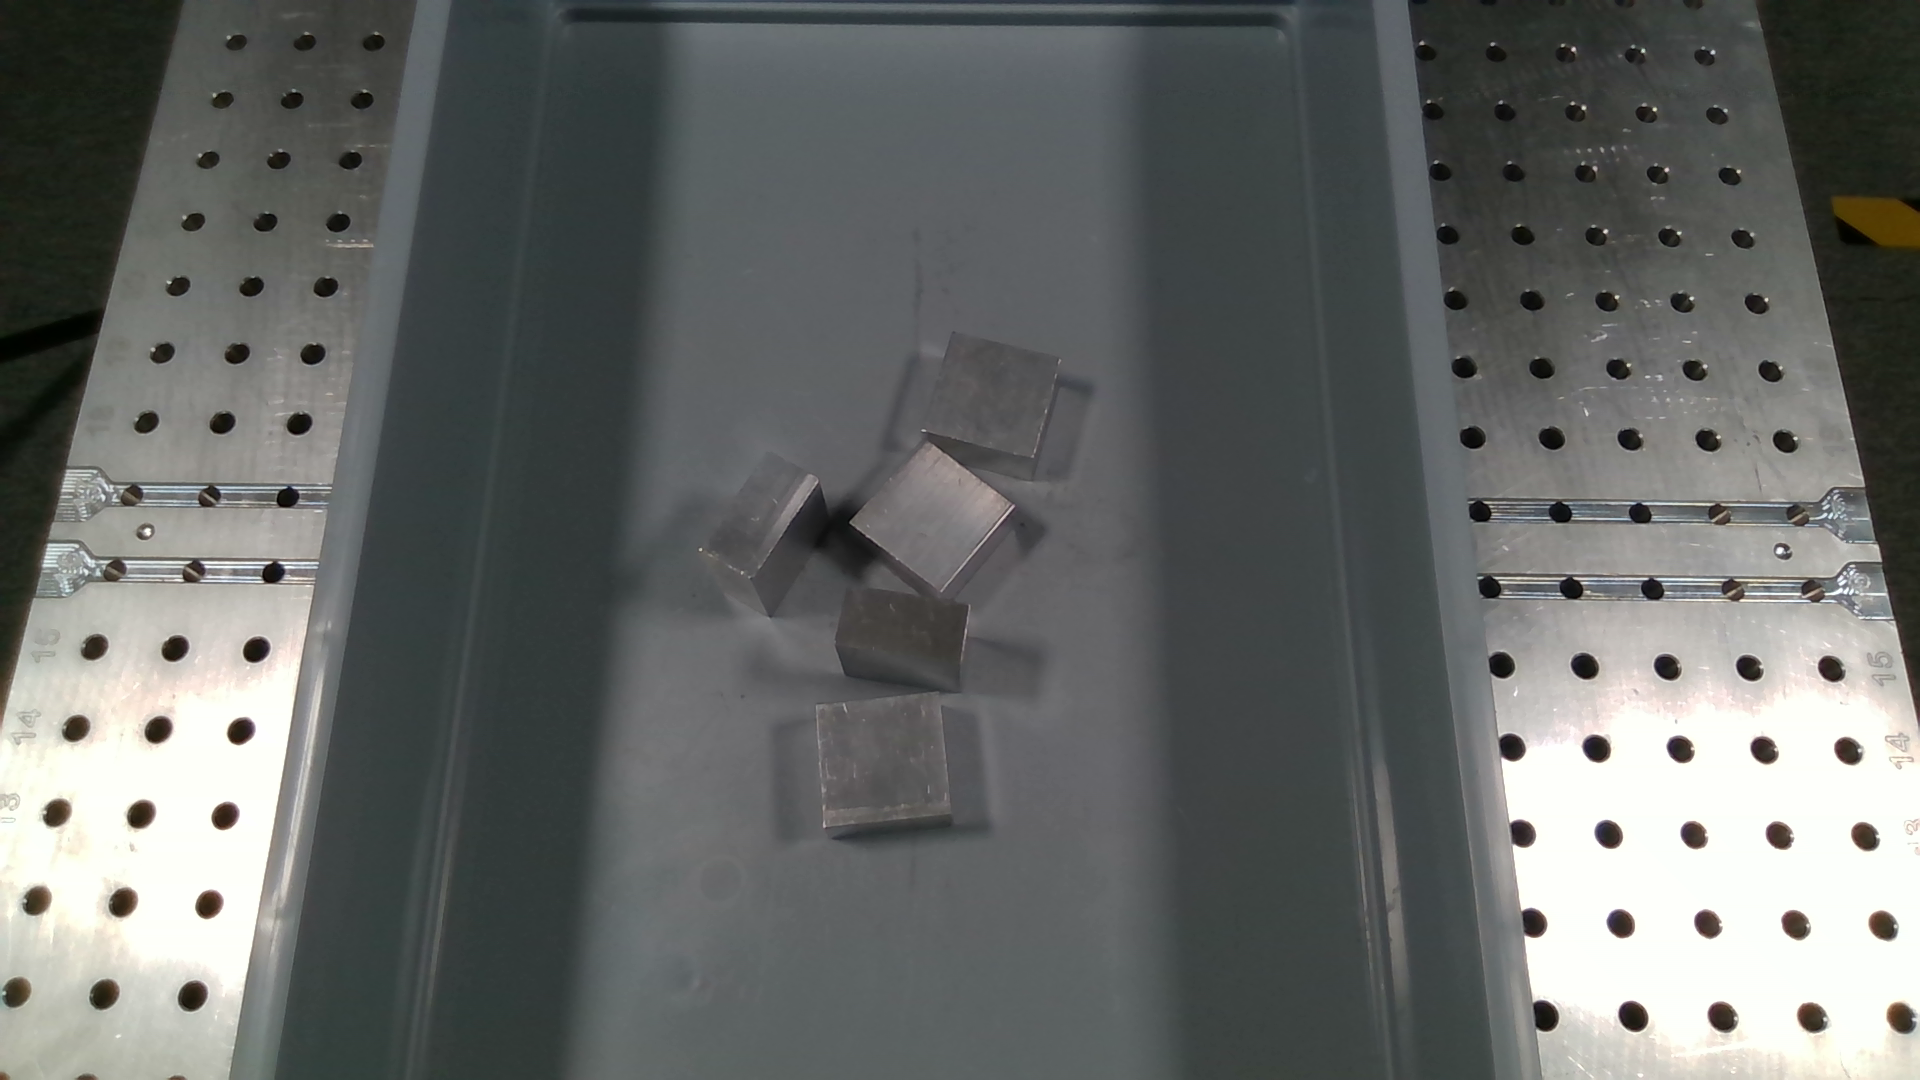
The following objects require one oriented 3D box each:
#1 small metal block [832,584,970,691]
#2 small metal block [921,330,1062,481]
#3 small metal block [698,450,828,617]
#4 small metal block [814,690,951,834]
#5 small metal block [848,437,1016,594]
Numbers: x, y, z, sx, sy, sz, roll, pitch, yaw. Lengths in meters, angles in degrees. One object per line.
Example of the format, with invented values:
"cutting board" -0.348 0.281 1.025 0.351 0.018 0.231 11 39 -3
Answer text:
"small metal block" -0.023 0.041 0.559 0.050 0.050 0.025 9 71 3
"small metal block" 0.014 -0.059 0.607 0.050 0.025 0.050 14 71 5
"small metal block" -0.080 -0.002 0.573 0.025 0.050 0.050 29 73 11
"small metal block" -0.031 0.090 0.554 0.050 0.025 0.050 -5 70 -2
"small metal block" -0.012 -0.007 0.588 0.050 0.025 0.050 37 74 12
